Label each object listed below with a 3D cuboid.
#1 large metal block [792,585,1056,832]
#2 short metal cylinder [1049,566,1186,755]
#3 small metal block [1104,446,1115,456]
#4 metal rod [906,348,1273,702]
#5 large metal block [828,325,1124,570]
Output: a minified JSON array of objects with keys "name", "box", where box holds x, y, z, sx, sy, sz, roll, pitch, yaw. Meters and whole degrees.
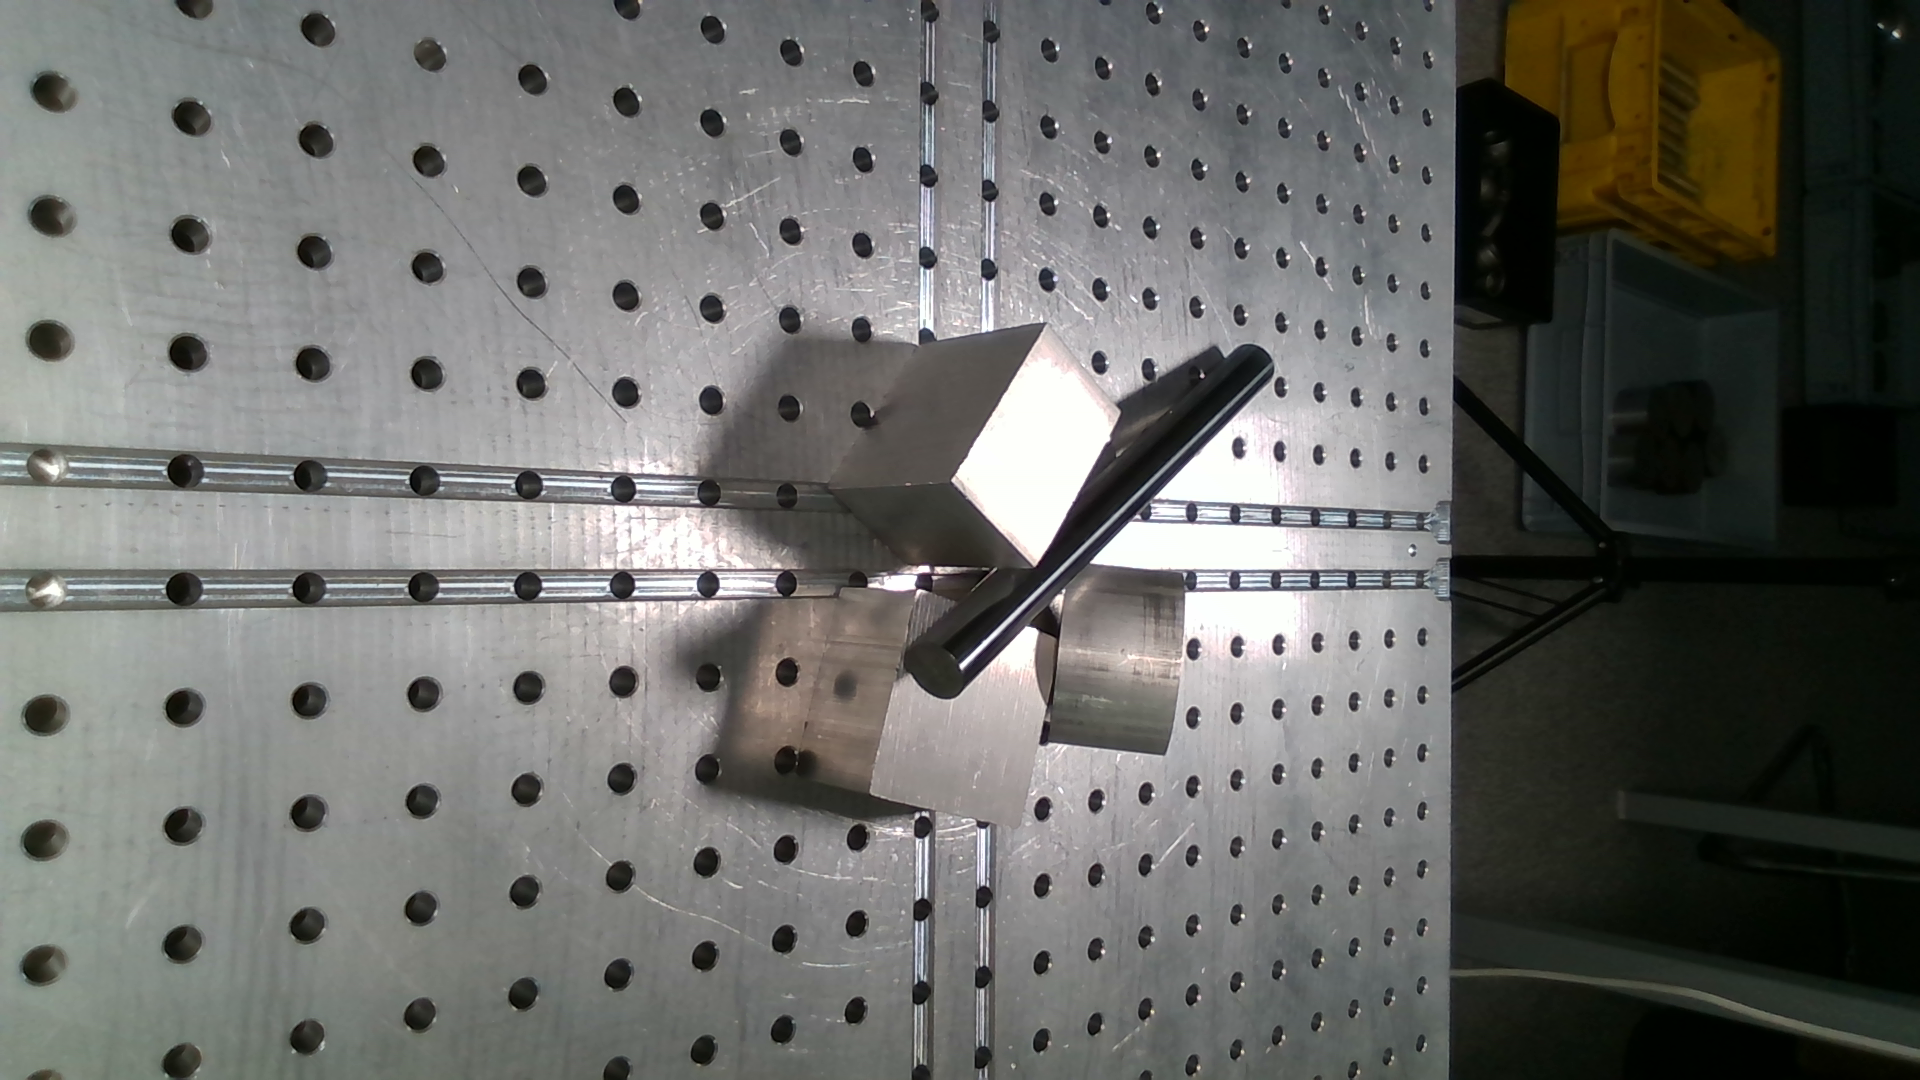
[{"name":"large metal block","box":[-0.012,0.068,0.559,0.080,0.050,0.080,22,76,-38]},{"name":"short metal cylinder","box":[0.068,0.051,0.599,0.050,0.080,0.080,6,84,4]},{"name":"small metal block","box":[0.044,-0.033,0.624,0.050,0.025,0.050,-31,109,-36]},{"name":"metal rod","box":[0.071,-0.020,0.606,0.299,0.025,0.025,-41,115,-45]},{"name":"large metal block","box":[0.006,-0.035,0.555,0.050,0.080,0.080,45,63,-31]}]
